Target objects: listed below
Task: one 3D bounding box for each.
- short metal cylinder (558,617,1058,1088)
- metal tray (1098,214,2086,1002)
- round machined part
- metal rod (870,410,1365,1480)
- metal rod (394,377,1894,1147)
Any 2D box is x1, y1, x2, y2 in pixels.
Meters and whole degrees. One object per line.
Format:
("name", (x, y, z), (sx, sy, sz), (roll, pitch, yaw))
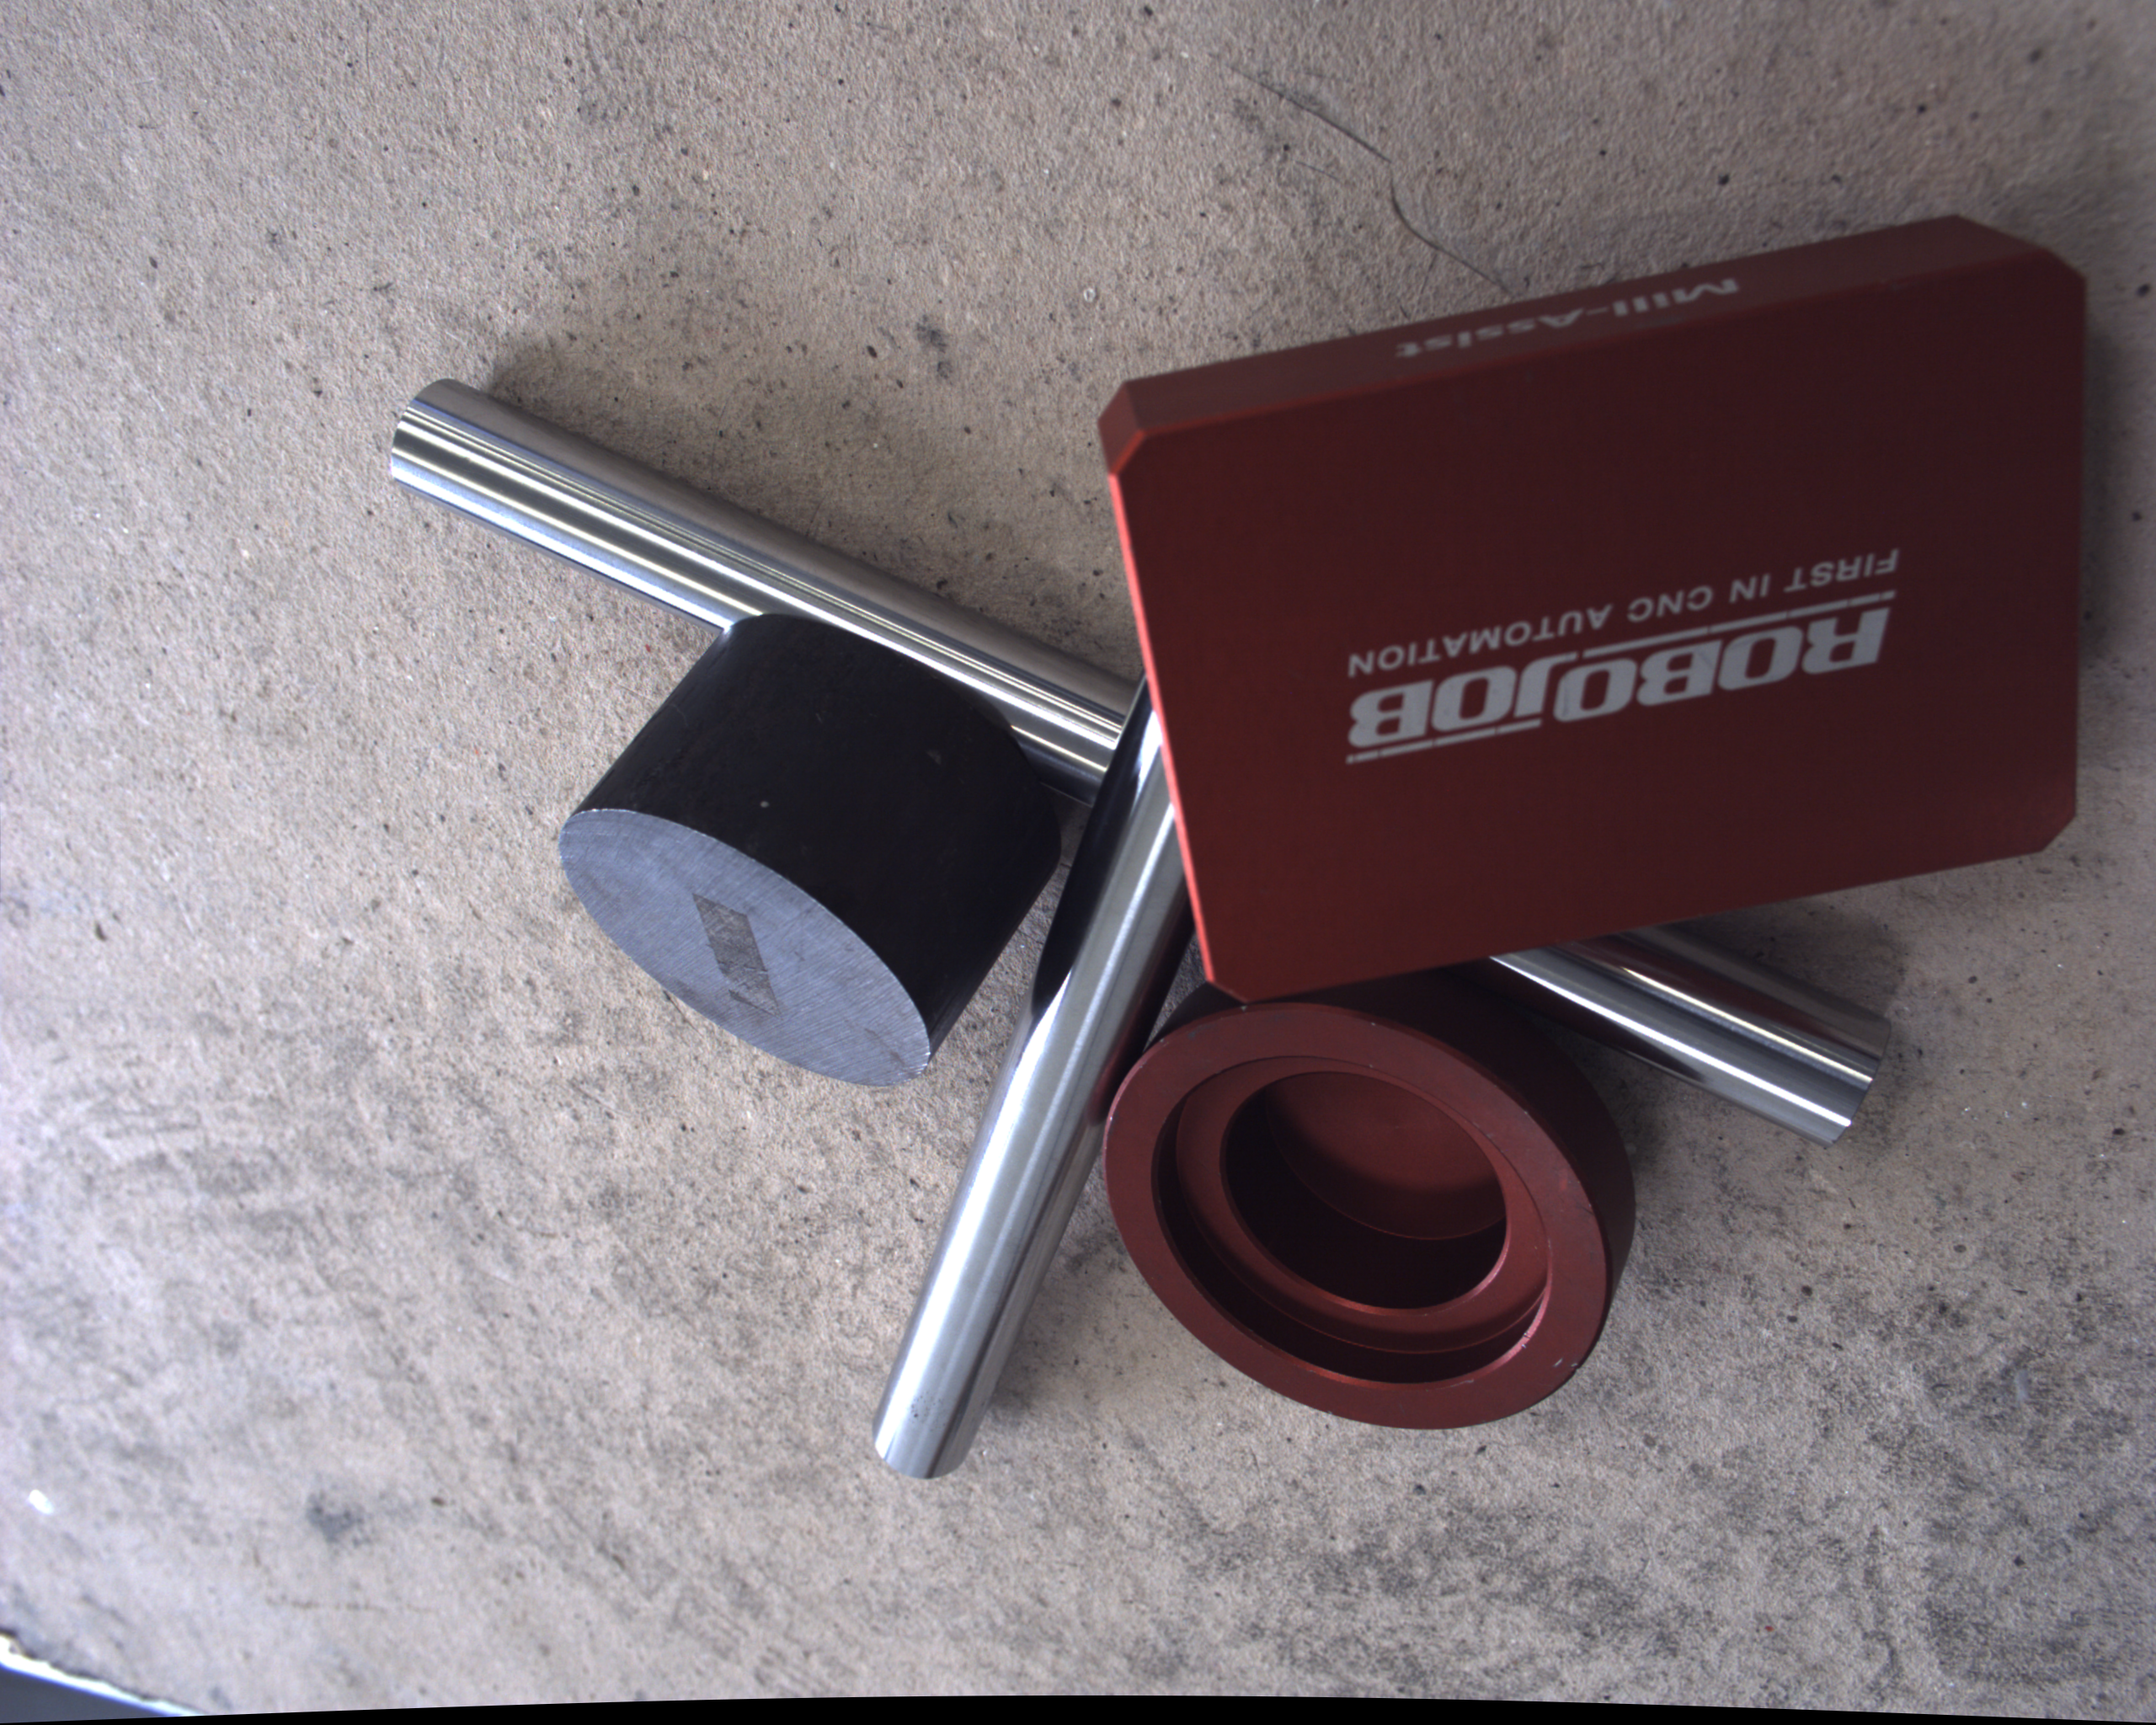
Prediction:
("short metal cylinder", (-0.051, -0.001, 0.402), (0.080, 0.050, 0.080), (25, 151, 15))
("metal tray", (0.076, -0.036, 0.307), (0.131, 0.030, 0.089), (-11, 116, 2))
("round machined part", (0.058, 0.058, 0.403), (0.098, 0.042, 0.097), (13, 124, 21))
("metal rod", (-0.003, 0.041, 0.412), (0.025, 0.025, 0.298), (29, 135, 9))
("metal rod", (0.002, -0.024, 0.393), (0.301, 0.025, 0.025), (25, 127, 12))
